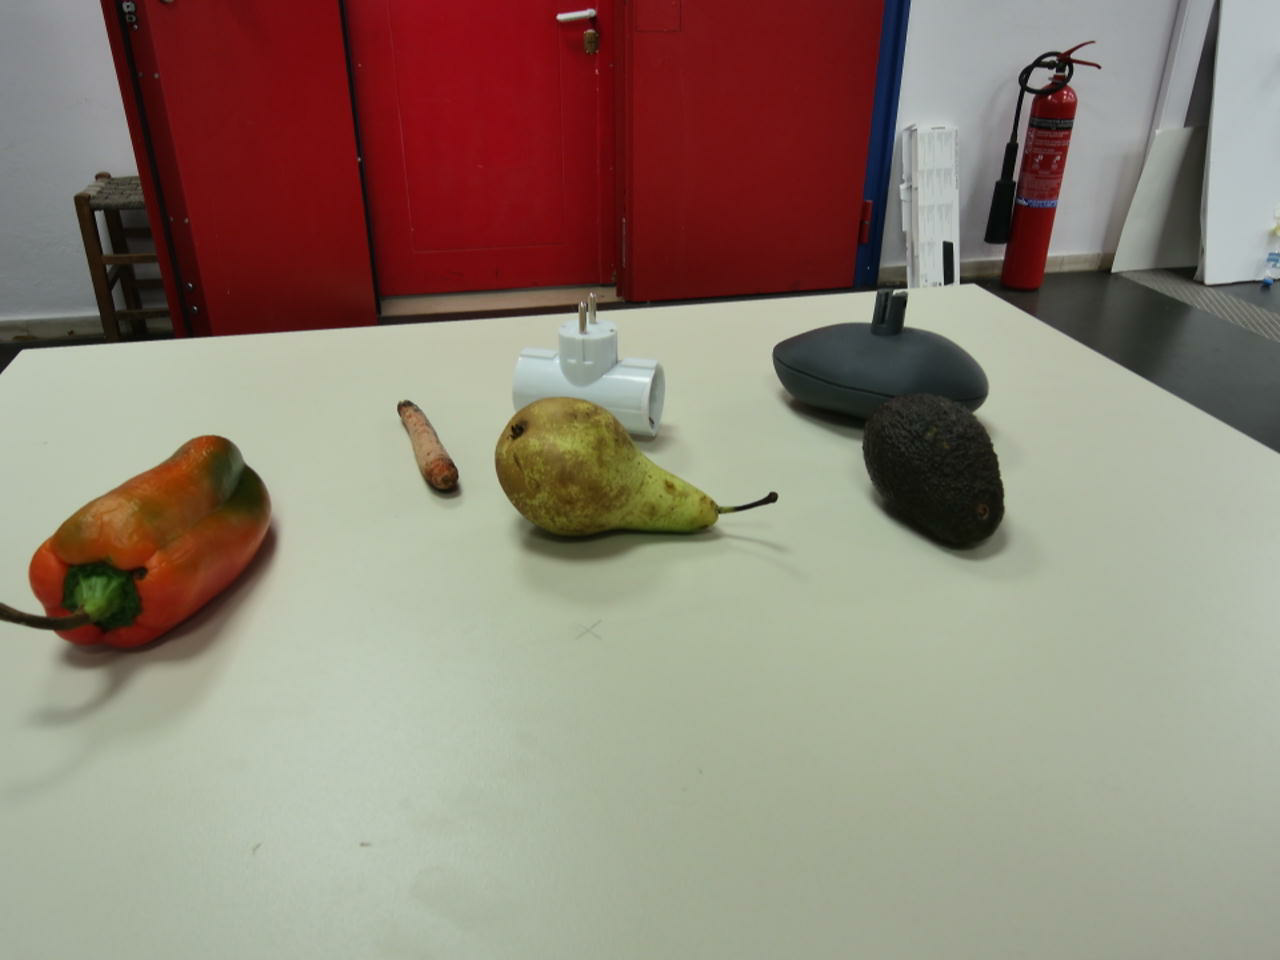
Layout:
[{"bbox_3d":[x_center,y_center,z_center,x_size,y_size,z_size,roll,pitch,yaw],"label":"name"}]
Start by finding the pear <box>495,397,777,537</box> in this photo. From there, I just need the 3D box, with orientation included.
[{"bbox_3d":[-0.004,-0.009,0.531,0.144,0.075,0.071,-3,26,-5],"label":"pear"}]
